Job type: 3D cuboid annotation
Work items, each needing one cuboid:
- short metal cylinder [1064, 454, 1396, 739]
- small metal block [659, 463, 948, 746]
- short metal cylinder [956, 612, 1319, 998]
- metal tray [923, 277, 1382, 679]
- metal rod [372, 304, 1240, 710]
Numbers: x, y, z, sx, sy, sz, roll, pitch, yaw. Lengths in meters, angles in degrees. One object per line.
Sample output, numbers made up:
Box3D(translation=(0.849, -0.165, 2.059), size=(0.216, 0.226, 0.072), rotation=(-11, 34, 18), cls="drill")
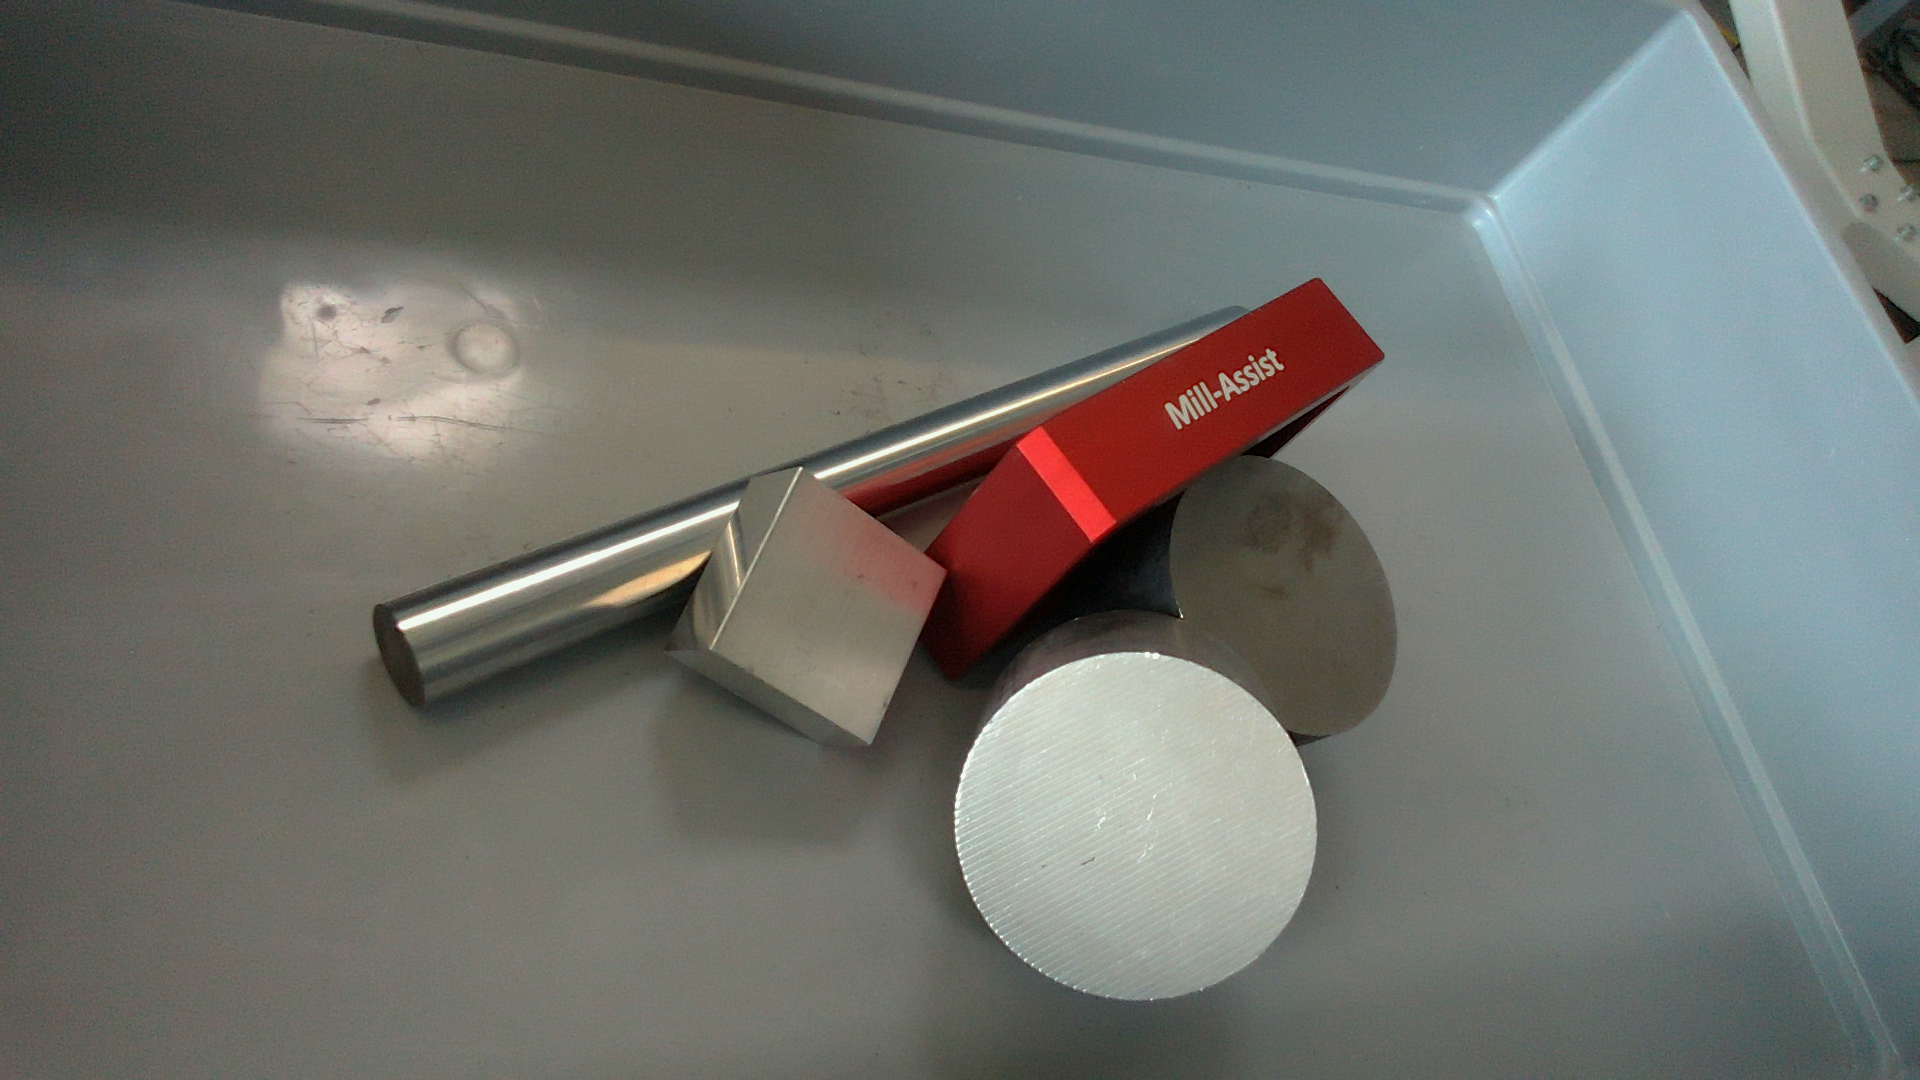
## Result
Box3D(translation=(0.077, 0.022, 0.394), size=(0.080, 0.050, 0.080), rotation=(13, 63, -28), cls="short metal cylinder")
Box3D(translation=(-0.038, 0.017, 0.341), size=(0.050, 0.025, 0.050), rotation=(36, 65, -28), cls="small metal block")
Box3D(translation=(0.041, 0.060, 0.329), size=(0.080, 0.080, 0.050), rotation=(40, 9, -1), cls="short metal cylinder")
Box3D(translation=(0.049, -0.018, 0.384), size=(0.130, 0.090, 0.030), rotation=(-30, 78, -38), cls="metal tray")
Box3D(translation=(-0.014, -0.022, 0.394), size=(0.301, 0.025, 0.025), rotation=(-24, 74, -36), cls="metal rod")
